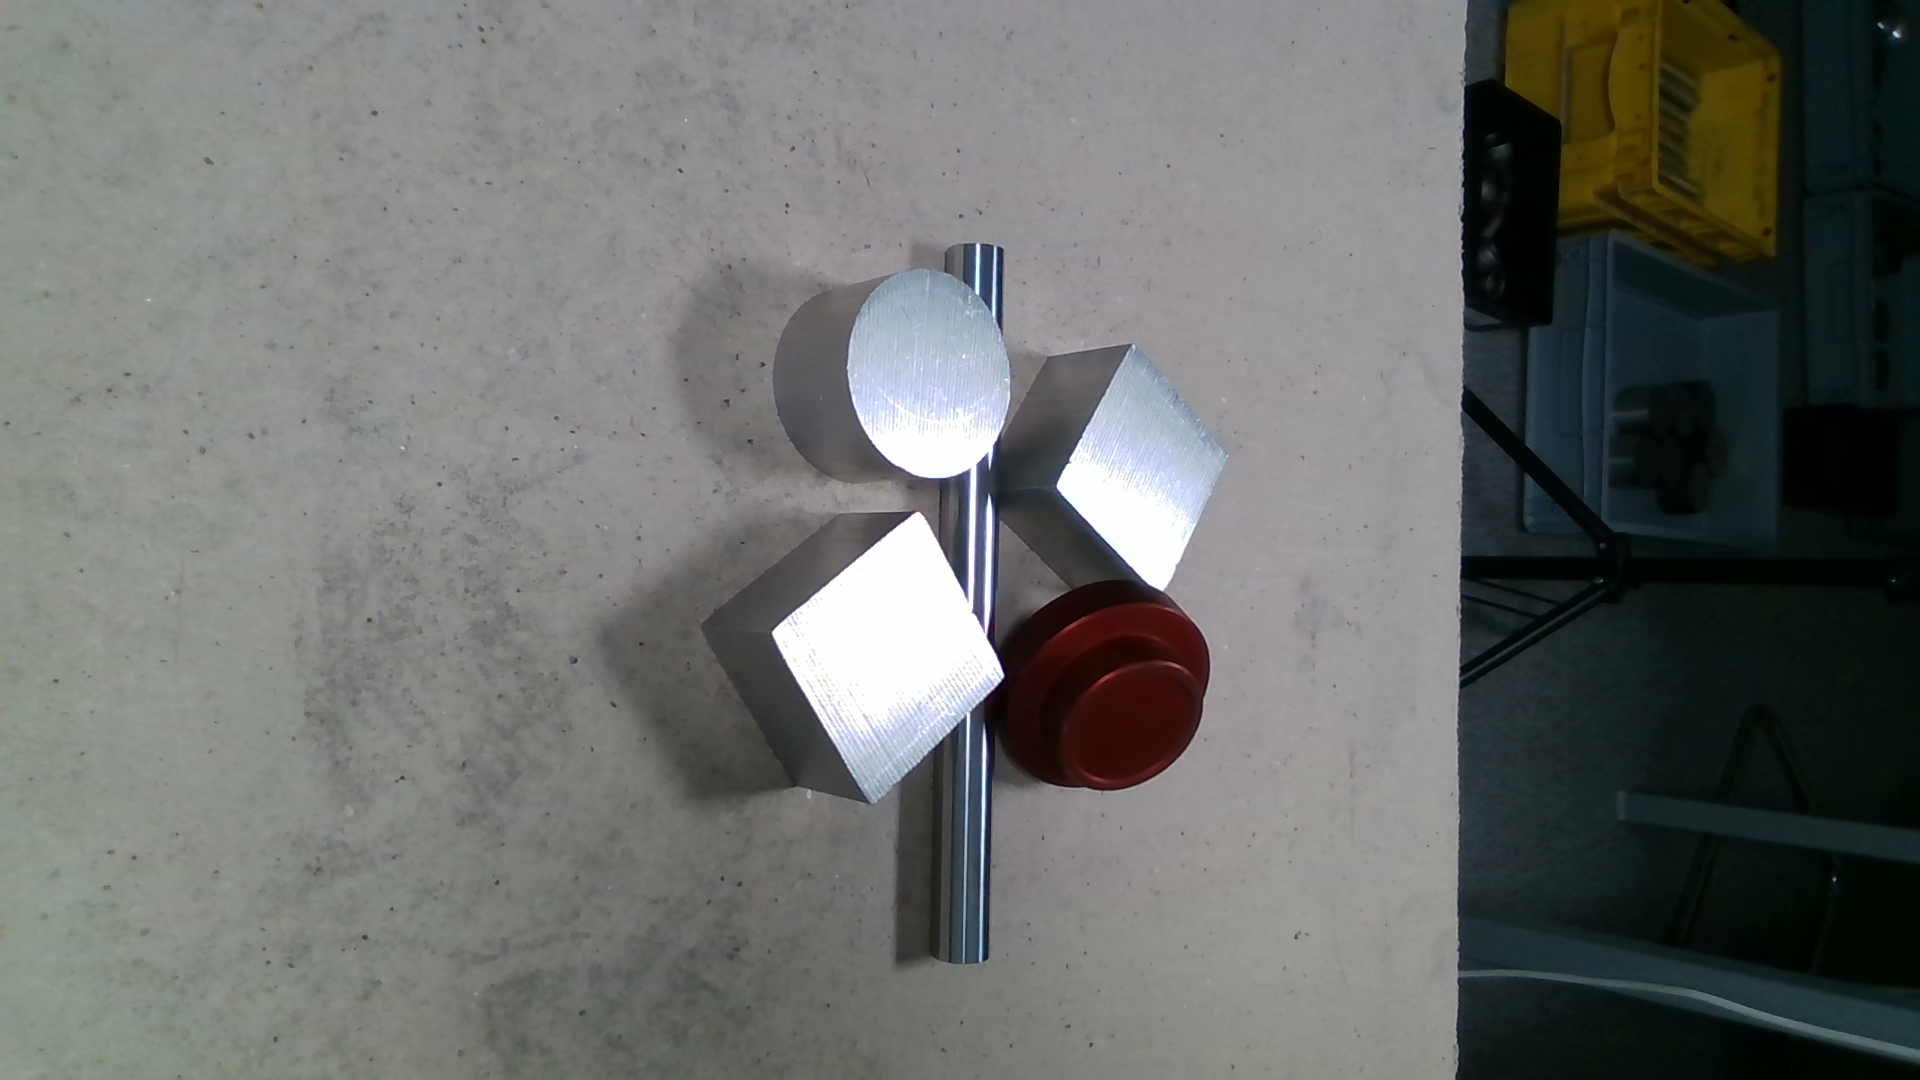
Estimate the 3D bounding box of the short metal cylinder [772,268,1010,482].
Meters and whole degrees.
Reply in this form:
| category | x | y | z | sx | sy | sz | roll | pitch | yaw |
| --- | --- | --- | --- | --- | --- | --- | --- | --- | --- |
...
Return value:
| category | x | y | z | sx | sy | sz | roll | pitch | yaw |
| --- | --- | --- | --- | --- | --- | --- | --- | --- | --- |
| short metal cylinder | -0.027 | -0.063 | 0.544 | 0.080 | 0.050 | 0.080 | 0 | 90 | -40 |

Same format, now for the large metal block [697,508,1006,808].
| category | x | y | z | sx | sy | sz | roll | pitch | yaw |
| --- | --- | --- | --- | --- | --- | --- | --- | --- | --- |
| large metal block | -0.040 | 0.043 | 0.533 | 0.080 | 0.050 | 0.080 | -41 | 115 | -33 |

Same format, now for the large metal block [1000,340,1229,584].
| category | x | y | z | sx | sy | sz | roll | pitch | yaw |
| --- | --- | --- | --- | --- | --- | --- | --- | --- | --- |
| large metal block | 0.066 | -0.031 | 0.619 | 0.080 | 0.050 | 0.080 | 44 | 63 | -31 |

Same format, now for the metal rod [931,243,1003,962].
| category | x | y | z | sx | sy | sz | roll | pitch | yaw |
| --- | --- | --- | --- | --- | --- | --- | --- | --- | --- |
| metal rod | 0.003 | 0.026 | 0.587 | 0.025 | 0.025 | 0.300 | 2 | 89 | -40 |

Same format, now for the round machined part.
| category | x | y | z | sx | sy | sz | roll | pitch | yaw |
| --- | --- | --- | --- | --- | --- | --- | --- | --- | --- |
| round machined part | 0.066 | 0.069 | 0.597 | 0.098 | 0.042 | 0.098 | -11 | 121 | -19 |
